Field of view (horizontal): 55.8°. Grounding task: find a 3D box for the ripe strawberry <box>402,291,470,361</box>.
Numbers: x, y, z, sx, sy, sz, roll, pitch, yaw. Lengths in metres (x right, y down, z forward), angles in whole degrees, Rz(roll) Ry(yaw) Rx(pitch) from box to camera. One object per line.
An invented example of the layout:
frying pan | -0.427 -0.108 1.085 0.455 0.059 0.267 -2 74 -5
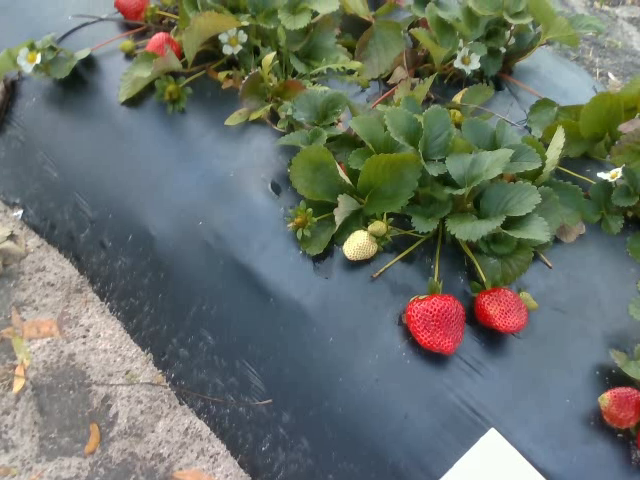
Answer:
ripe strawberry | 0.110 0.081 0.560 0.058 0.065 0.044 -19 -36 15

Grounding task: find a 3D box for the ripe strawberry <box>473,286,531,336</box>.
ripe strawberry | 0.174 0.071 0.573 0.050 0.051 0.060 -25 22 14

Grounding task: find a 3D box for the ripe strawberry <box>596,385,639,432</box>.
ripe strawberry | 0.262 0.147 0.529 0.053 0.047 0.038 24 -2 -13
